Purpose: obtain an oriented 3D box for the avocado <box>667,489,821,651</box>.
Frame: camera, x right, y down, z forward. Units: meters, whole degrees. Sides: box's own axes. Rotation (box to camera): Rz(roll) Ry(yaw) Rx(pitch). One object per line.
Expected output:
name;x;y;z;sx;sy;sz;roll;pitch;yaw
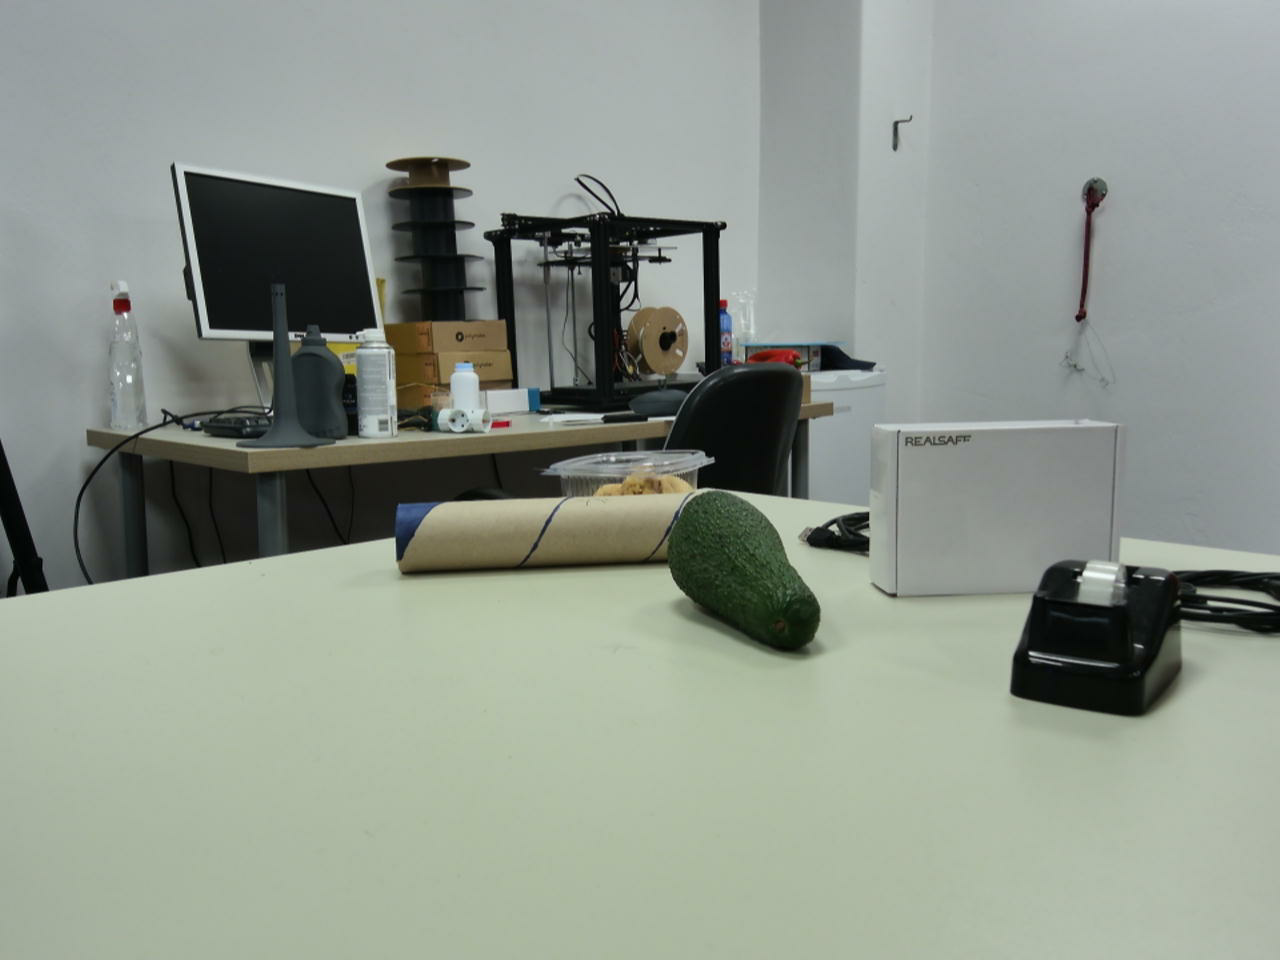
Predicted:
avocado;0.060;0.044;0.538;0.063;0.067;0.141;-2;6;-27
